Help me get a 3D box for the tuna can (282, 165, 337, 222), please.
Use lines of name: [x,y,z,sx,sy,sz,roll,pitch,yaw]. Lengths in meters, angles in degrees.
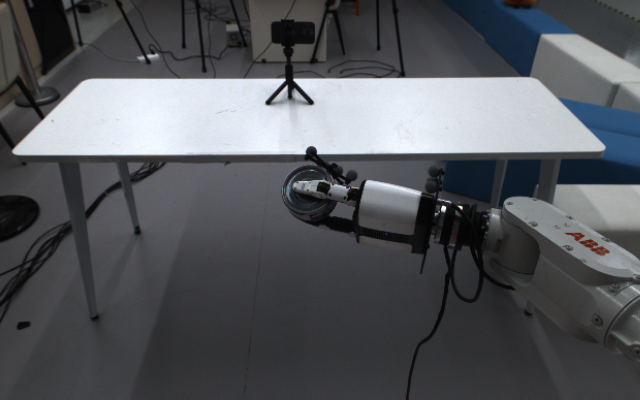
tuna can: [-0.015,-0.012,0.751,0.085,0.034,0.085,-4,69,10]
